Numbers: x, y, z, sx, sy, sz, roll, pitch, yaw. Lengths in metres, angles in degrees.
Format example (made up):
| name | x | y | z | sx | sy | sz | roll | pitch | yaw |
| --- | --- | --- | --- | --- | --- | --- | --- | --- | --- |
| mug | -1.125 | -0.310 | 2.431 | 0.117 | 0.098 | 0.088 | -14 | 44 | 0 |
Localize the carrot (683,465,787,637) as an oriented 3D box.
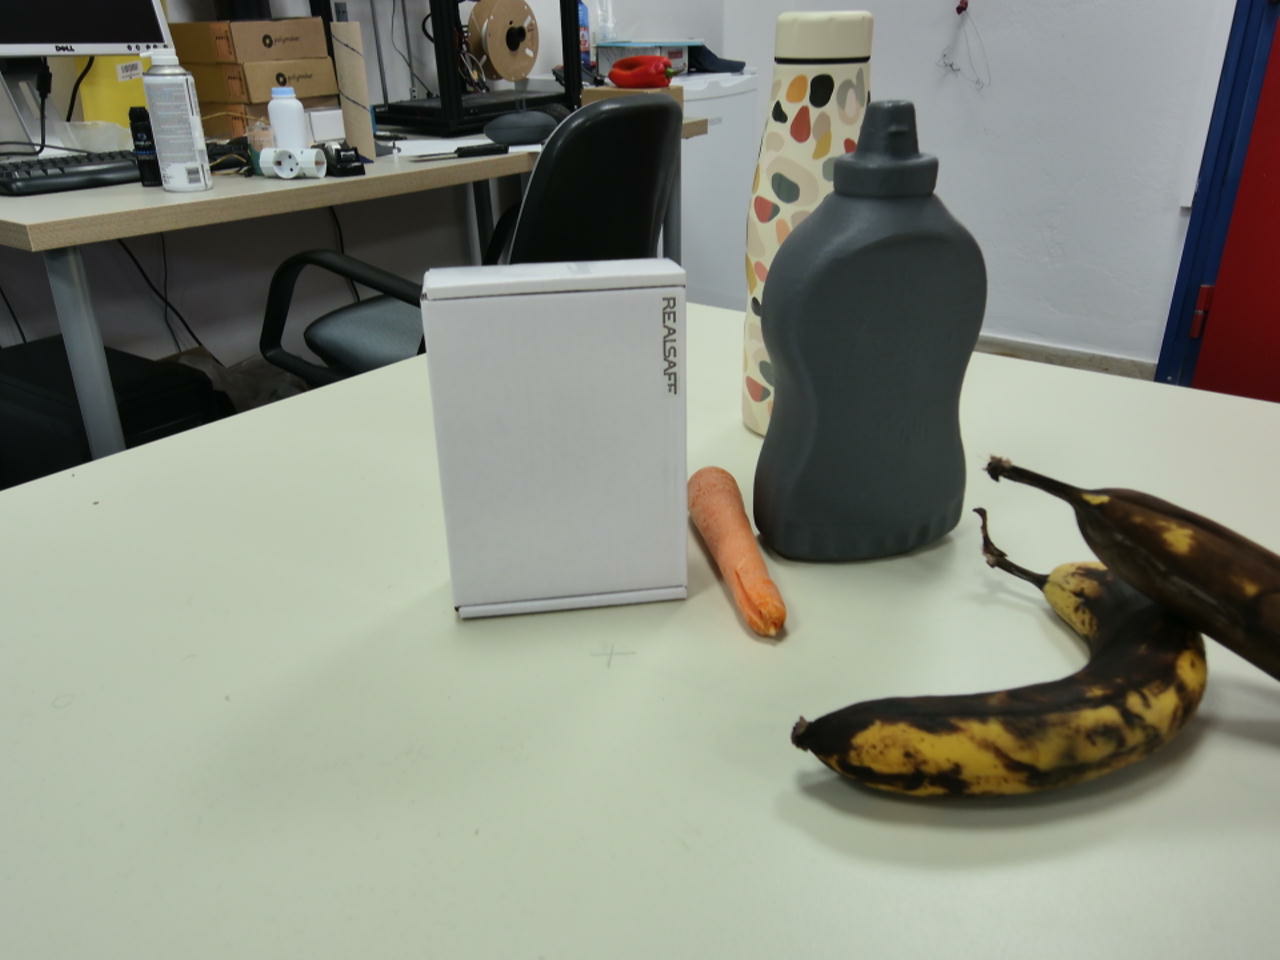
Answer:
| name | x | y | z | sx | sy | sz | roll | pitch | yaw |
| --- | --- | --- | --- | --- | --- | --- | --- | --- | --- |
| carrot | 0.044 | 0.028 | 0.473 | 0.030 | 0.032 | 0.136 | -3 | 23 | -7 |
